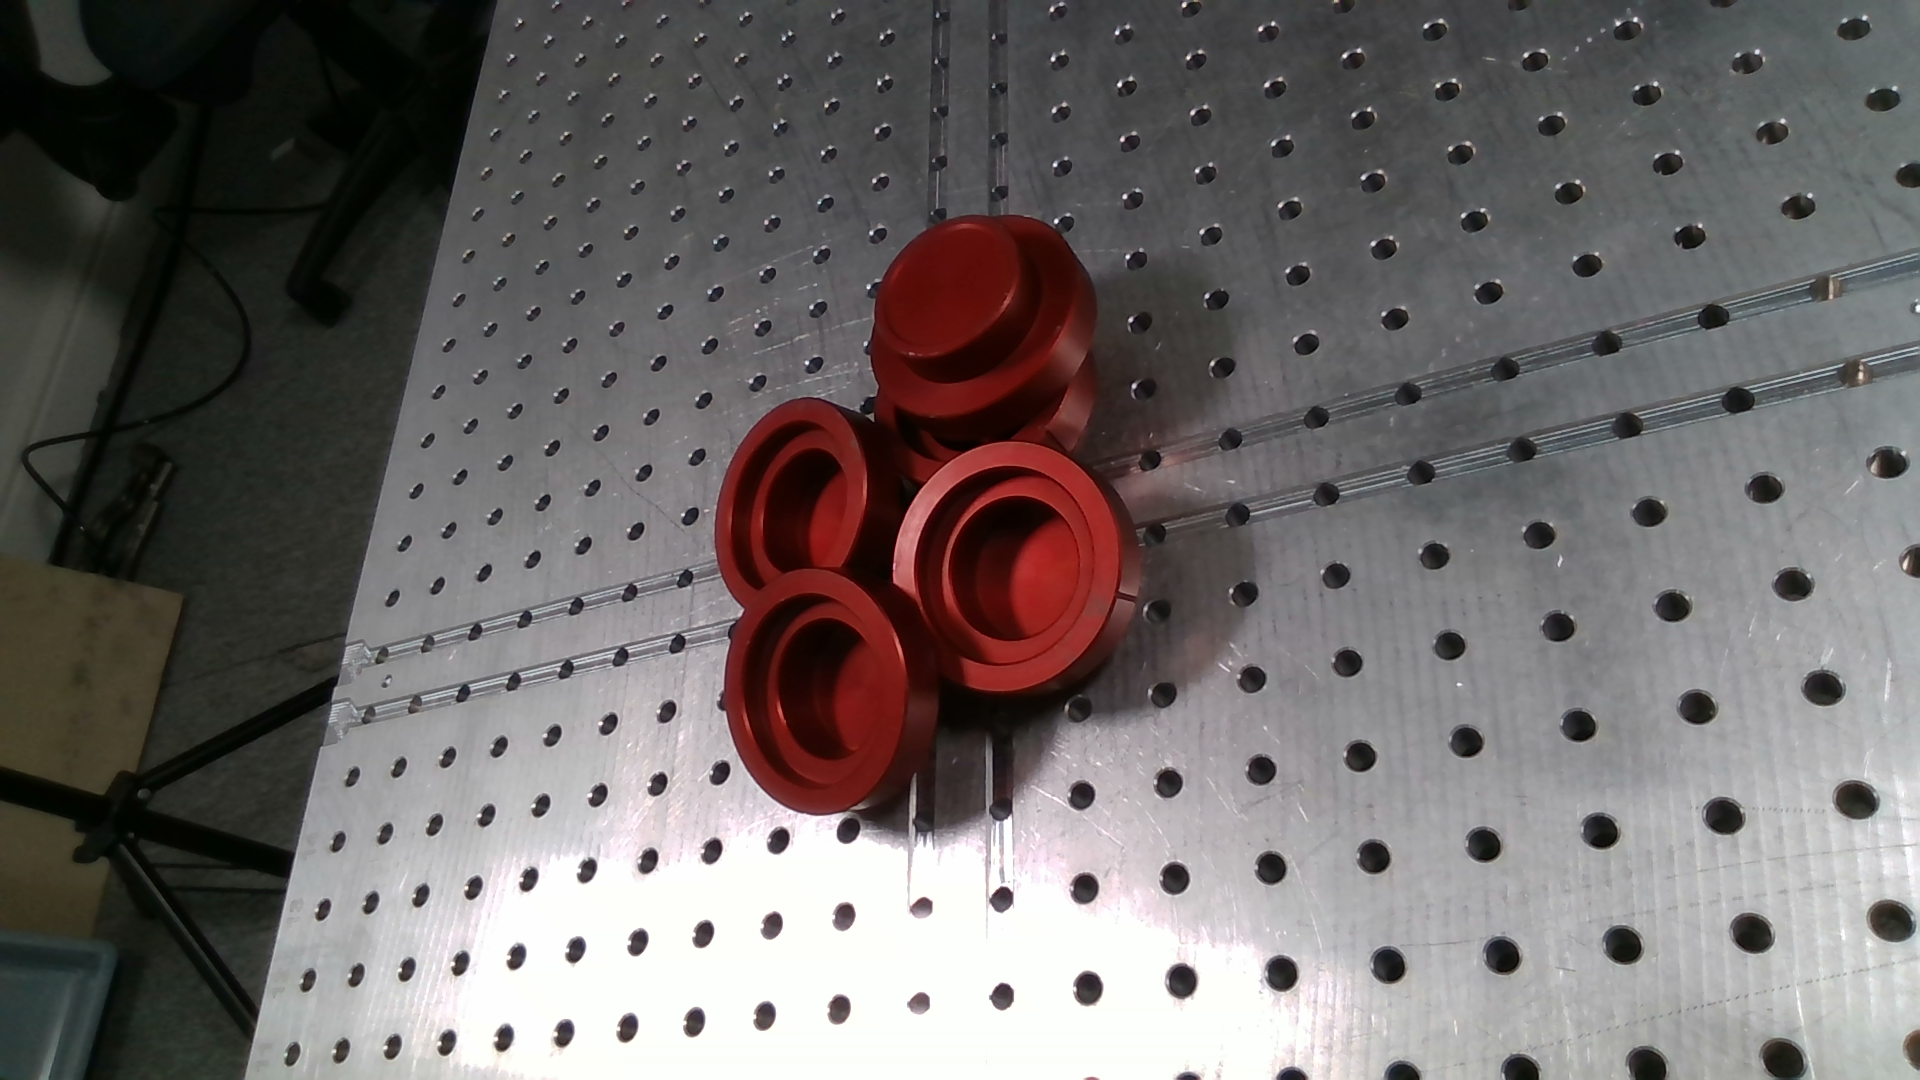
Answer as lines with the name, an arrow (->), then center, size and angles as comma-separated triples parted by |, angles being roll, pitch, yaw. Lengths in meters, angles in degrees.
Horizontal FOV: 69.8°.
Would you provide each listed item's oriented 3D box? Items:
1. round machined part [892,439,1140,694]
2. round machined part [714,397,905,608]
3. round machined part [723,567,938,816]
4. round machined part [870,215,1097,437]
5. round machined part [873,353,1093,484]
round machined part -> 0.025, 0.012, 0.544 | 0.098, 0.042, 0.098 | -5, 79, 28
round machined part -> -0.062, -0.011, 0.610 | 0.098, 0.042, 0.098 | -13, 70, 40
round machined part -> -0.047, 0.060, 0.560 | 0.098, 0.042, 0.098 | -1, 88, 36
round machined part -> 0.004, -0.095, 0.571 | 0.098, 0.042, 0.098 | -14, 59, 25
round machined part -> 0.014, -0.059, 0.599 | 0.098, 0.042, 0.098 | -14, 59, 25
